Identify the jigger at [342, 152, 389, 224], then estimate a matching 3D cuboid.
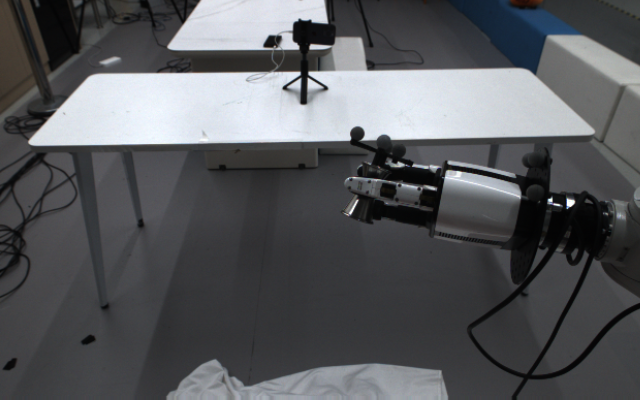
[{"bbox_3d":[0.056,-0.011,0.590,0.043,0.071,0.043,22,6,-2],"label":"jigger"}]
